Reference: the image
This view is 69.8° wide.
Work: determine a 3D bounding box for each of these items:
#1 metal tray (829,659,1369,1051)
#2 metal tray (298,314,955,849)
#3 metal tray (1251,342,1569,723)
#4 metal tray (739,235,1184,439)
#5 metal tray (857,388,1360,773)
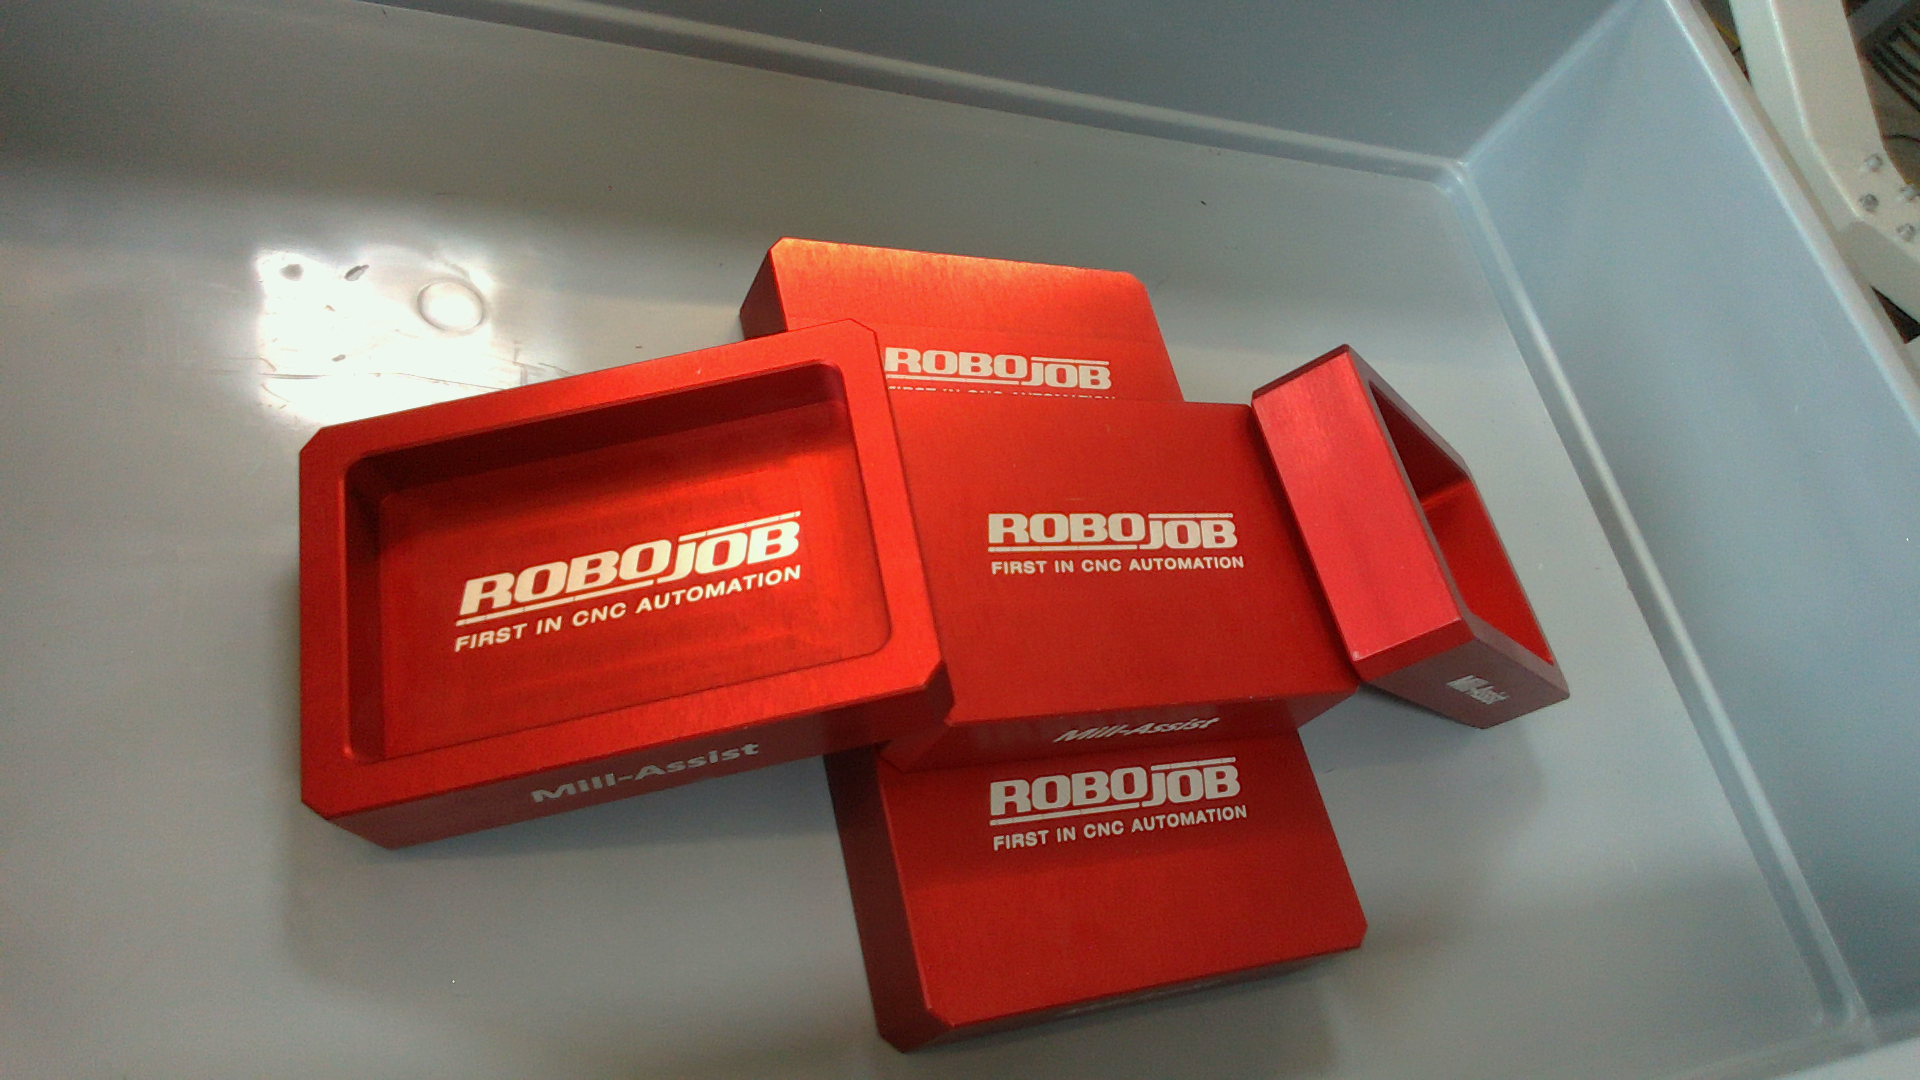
[{"bbox_3d":[0.036,0.073,0.358,0.130,0.030,0.090,0,62,-29],"label":"metal tray"},{"bbox_3d":[-0.074,0.008,0.302,0.130,0.030,0.090,-12,66,-1],"label":"metal tray"},{"bbox_3d":[0.140,0.003,0.418,0.130,0.030,0.090,20,48,-54],"label":"metal tray"},{"bbox_3d":[0.006,-0.041,0.412,0.130,0.030,0.090,0,62,-29],"label":"metal tray"},{"bbox_3d":[0.034,0.007,0.360,0.130,0.030,0.090,-1,62,-29],"label":"metal tray"}]
